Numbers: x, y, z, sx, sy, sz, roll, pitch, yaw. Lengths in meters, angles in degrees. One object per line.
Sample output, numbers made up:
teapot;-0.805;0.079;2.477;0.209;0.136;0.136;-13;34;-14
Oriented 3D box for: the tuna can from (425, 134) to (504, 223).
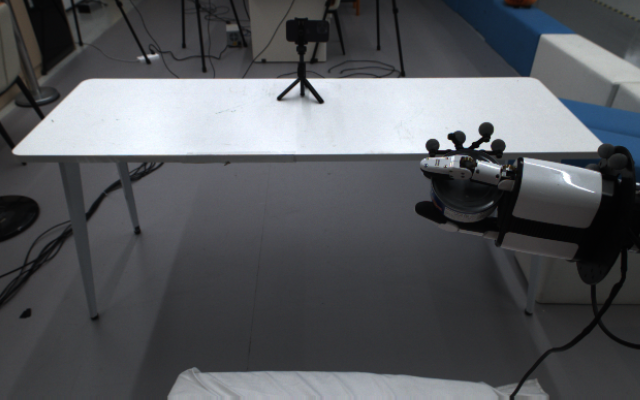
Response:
tuna can;0.178;-0.019;0.587;0.085;0.034;0.085;-4;61;7
